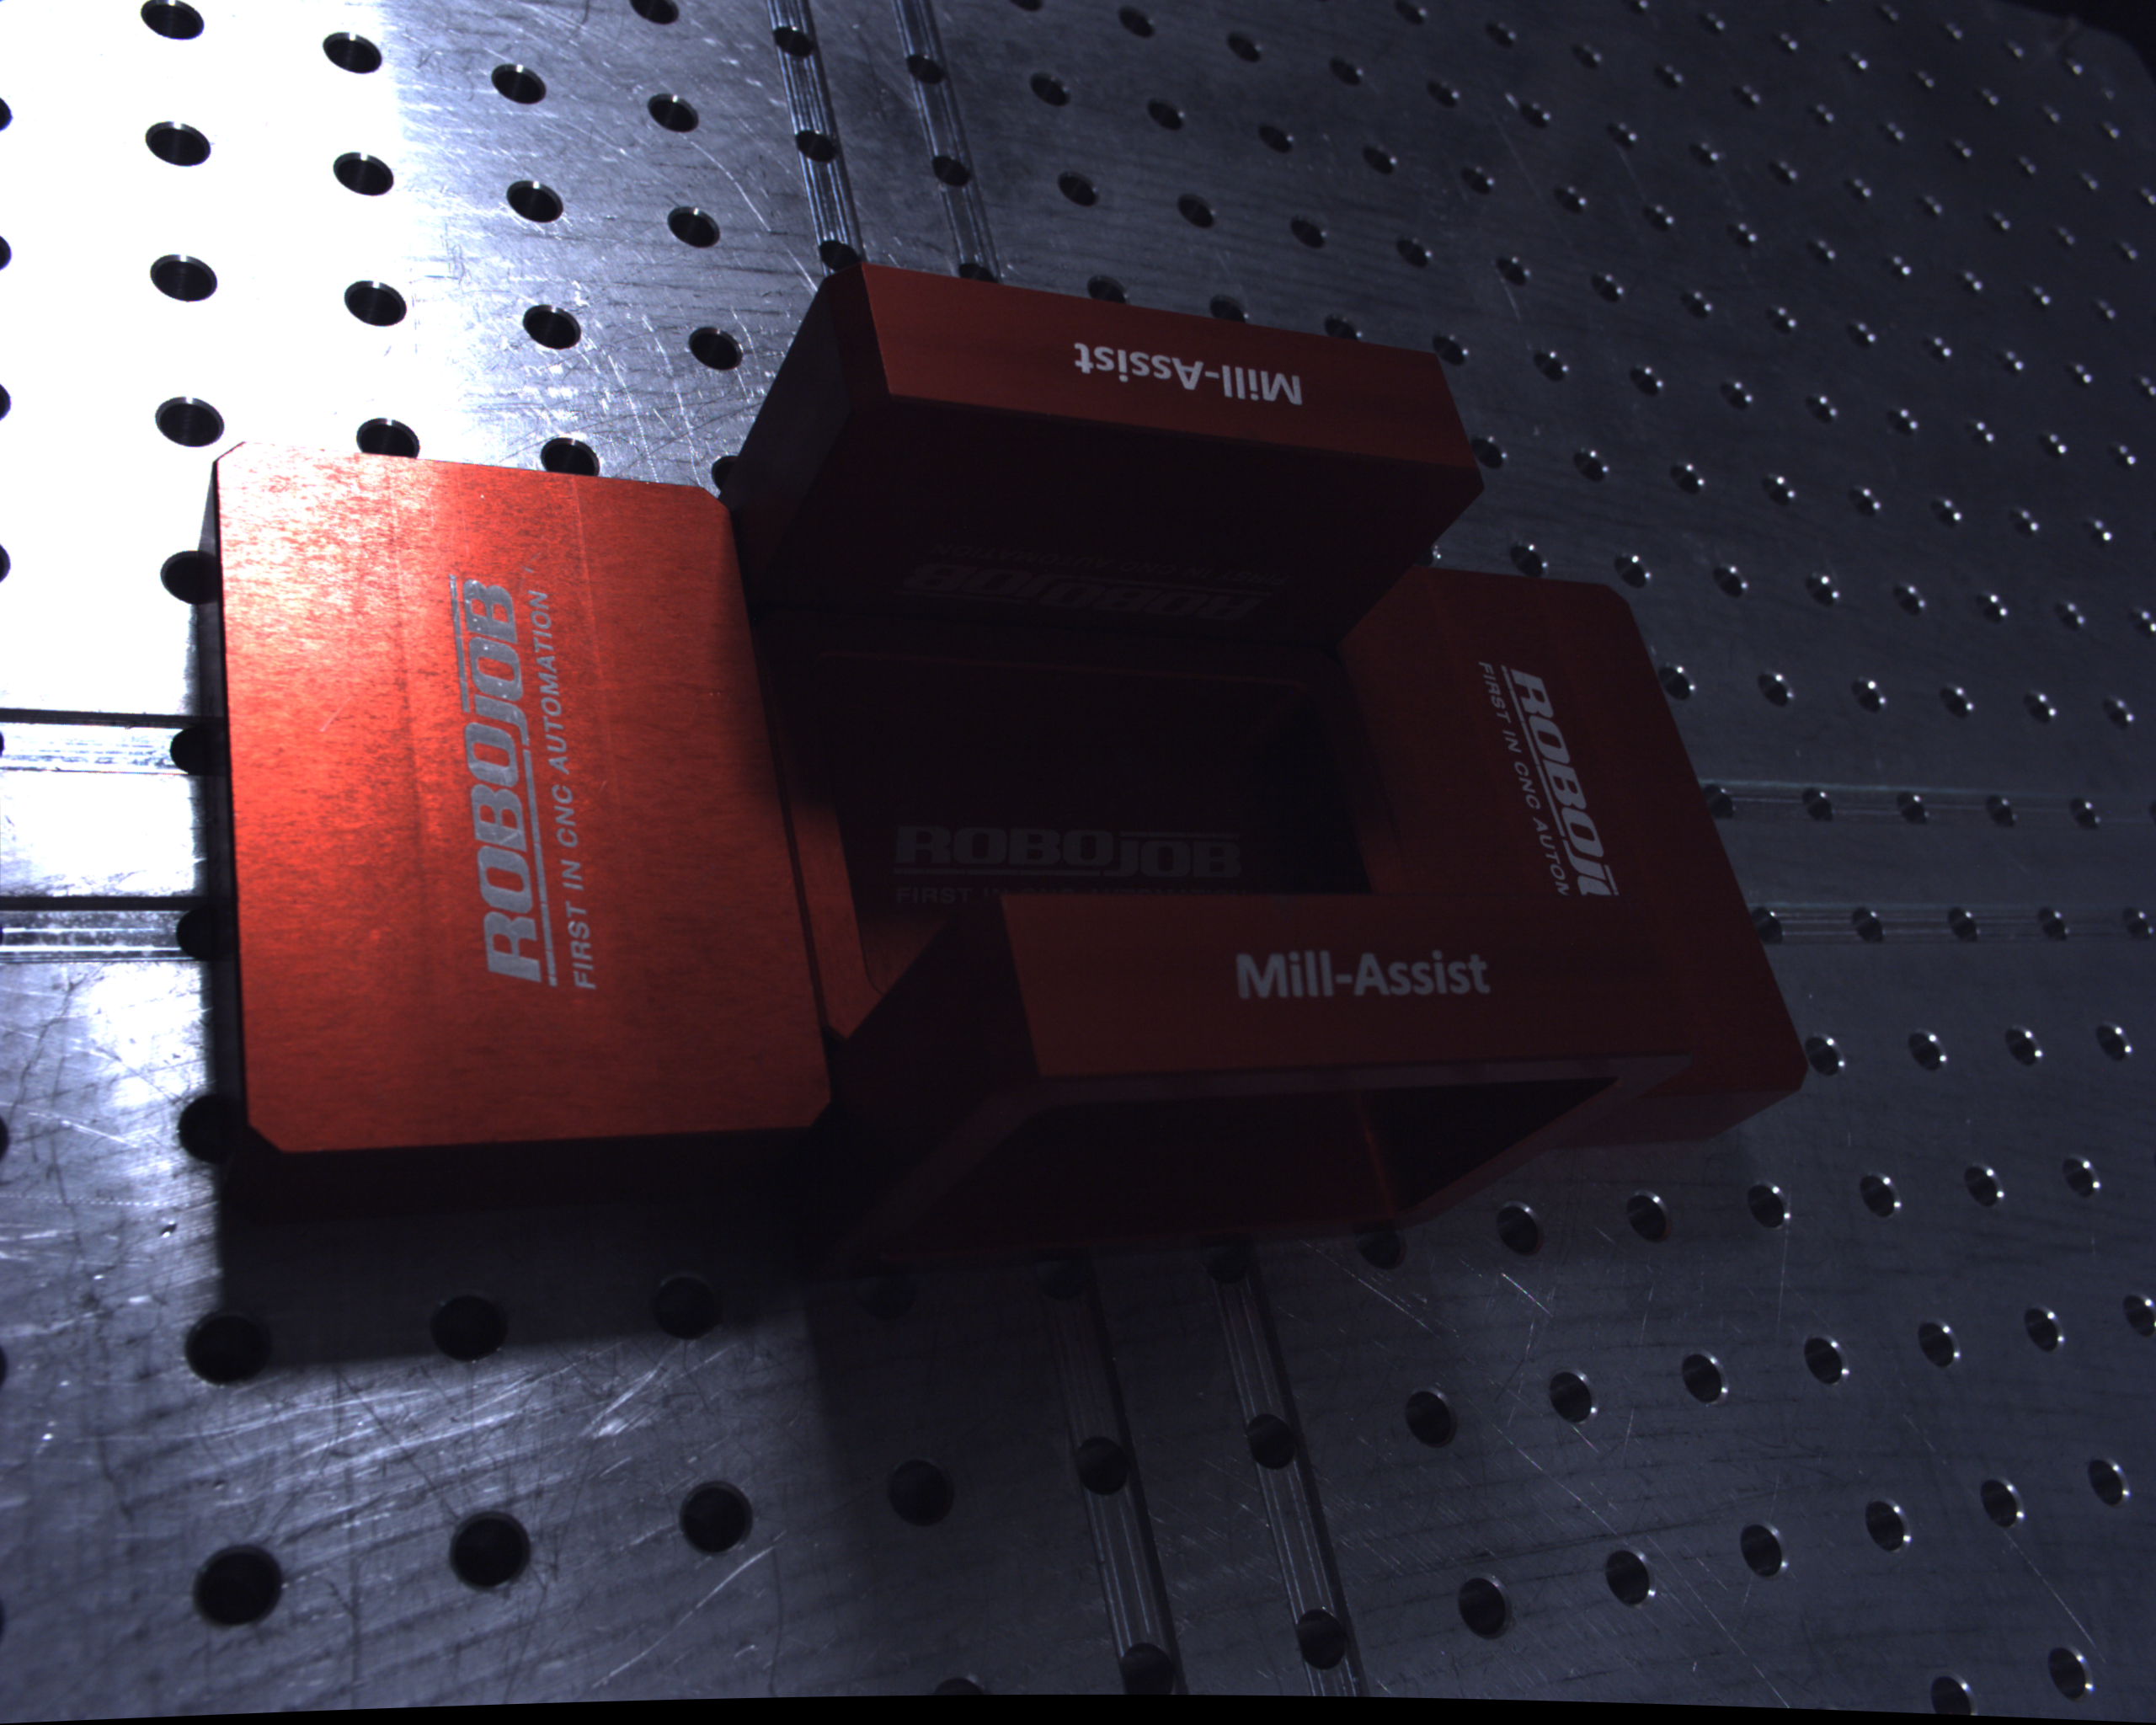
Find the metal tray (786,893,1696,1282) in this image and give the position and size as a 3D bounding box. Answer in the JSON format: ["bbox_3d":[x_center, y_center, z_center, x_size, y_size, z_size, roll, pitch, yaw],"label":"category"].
[{"bbox_3d":[0.027,0.039,0.357,0.131,0.090,0.030,1,62,-28],"label":"metal tray"}]

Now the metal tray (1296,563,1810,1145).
[{"bbox_3d":[0.098,-0.004,0.460,0.091,0.030,0.130,1,61,-29],"label":"metal tray"}]

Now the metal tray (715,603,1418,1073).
[{"bbox_3d":[0.002,-0.001,0.405,0.131,0.030,0.090,1,61,-28],"label":"metal tray"}]

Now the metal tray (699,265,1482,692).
[{"bbox_3d":[0.001,-0.067,0.409,0.131,0.090,0.030,1,62,-28],"label":"metal tray"}]

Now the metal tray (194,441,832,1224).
[{"bbox_3d":[-0.099,-0.007,0.357,0.091,0.030,0.130,1,61,-28],"label":"metal tray"}]
